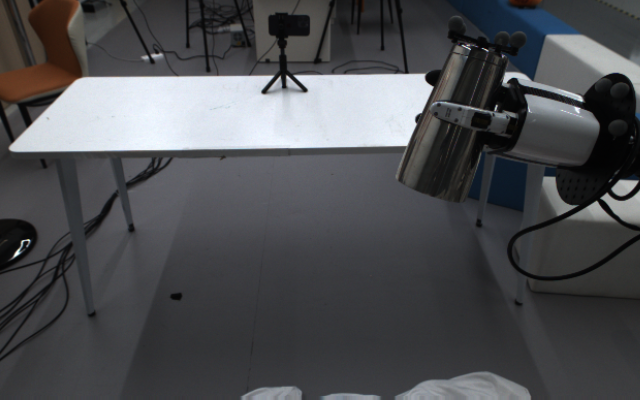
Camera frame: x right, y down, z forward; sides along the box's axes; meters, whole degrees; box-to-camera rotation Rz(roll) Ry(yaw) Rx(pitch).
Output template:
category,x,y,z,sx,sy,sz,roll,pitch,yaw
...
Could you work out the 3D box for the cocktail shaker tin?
category,x,y,z,sx,sy,sz,roll,pitch,yaw
cocktail shaker tin,0.162,-0.095,0.580,0.093,0.170,0.093,15,17,-5
